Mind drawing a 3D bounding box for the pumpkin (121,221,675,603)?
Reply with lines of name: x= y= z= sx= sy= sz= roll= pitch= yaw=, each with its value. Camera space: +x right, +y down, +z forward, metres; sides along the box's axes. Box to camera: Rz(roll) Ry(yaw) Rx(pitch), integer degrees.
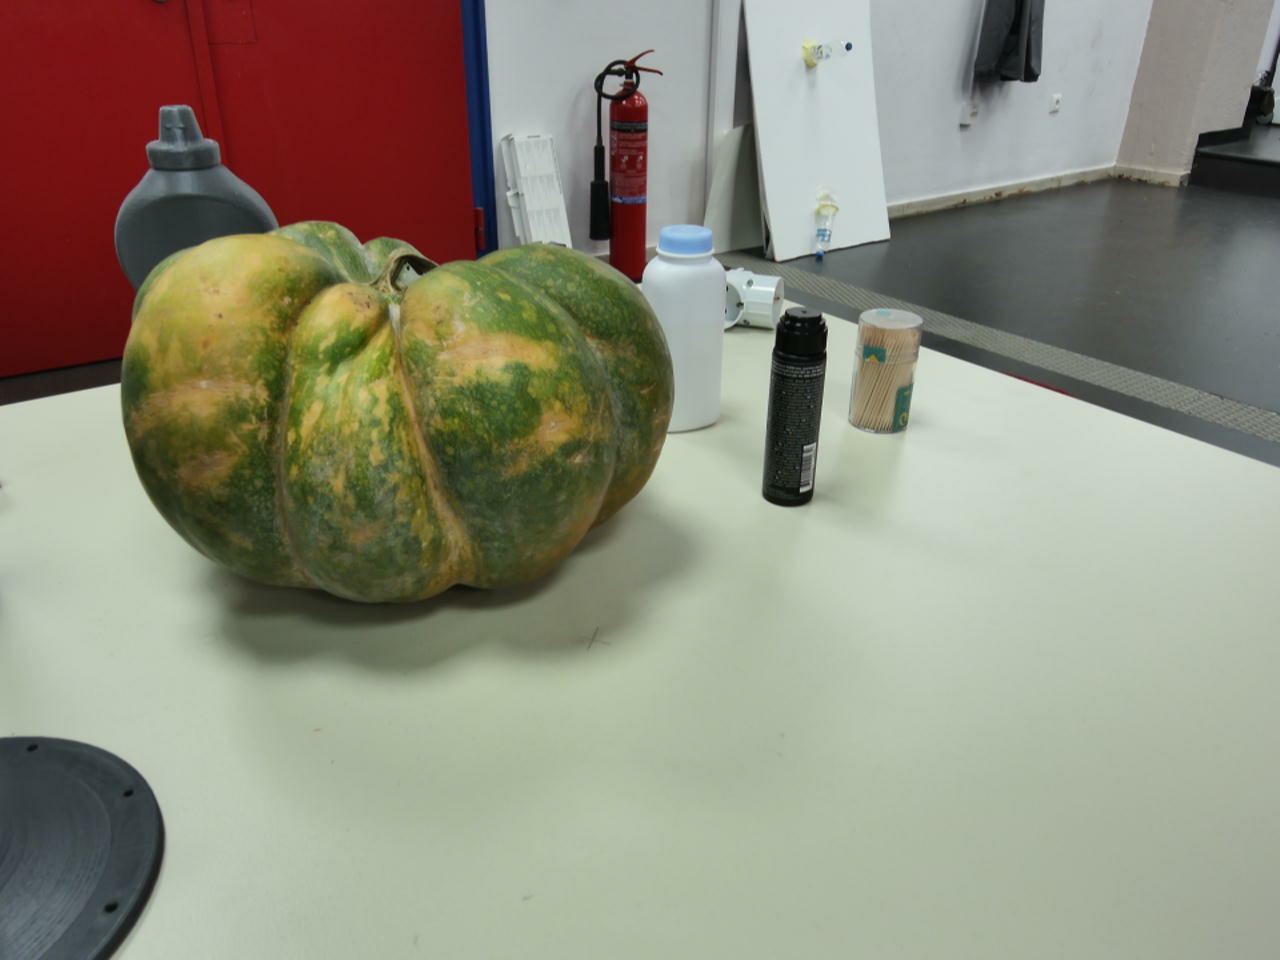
pumpkin: x=-0.119 y=-0.044 z=0.491 sx=0.270 sy=0.173 sz=0.237 roll=0 pitch=25 yaw=0
